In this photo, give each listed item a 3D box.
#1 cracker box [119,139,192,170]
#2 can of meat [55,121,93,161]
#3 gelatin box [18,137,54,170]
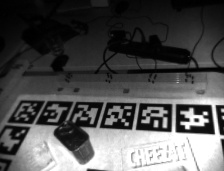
[{"bbox_3d":[0.105,0.236,0.485,0.164,0.072,0.212,-10,41,2],"label":"cracker box"},{"bbox_3d":[-0.107,0.158,0.616,0.100,0.084,0.058,25,55,36],"label":"can of meat"},{"bbox_3d":[-0.220,0.203,0.625,0.074,0.030,0.088,-31,48,-22],"label":"gelatin box"}]
